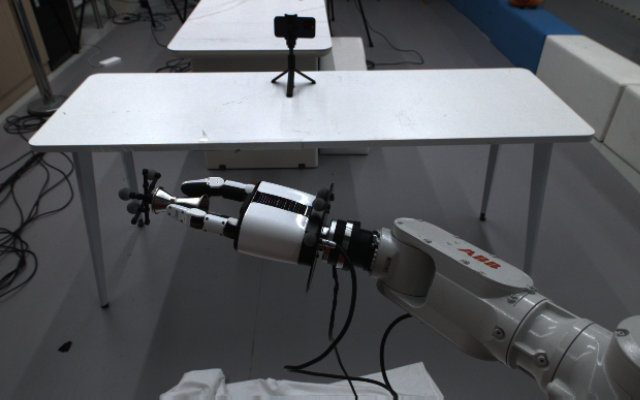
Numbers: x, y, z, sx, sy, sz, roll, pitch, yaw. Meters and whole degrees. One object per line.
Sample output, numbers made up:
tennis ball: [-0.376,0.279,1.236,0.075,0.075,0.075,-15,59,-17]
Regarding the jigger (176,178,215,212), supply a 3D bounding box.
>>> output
jigger: [-0.188,0.002,0.683,0.071,0.043,0.043,10,35,5]
